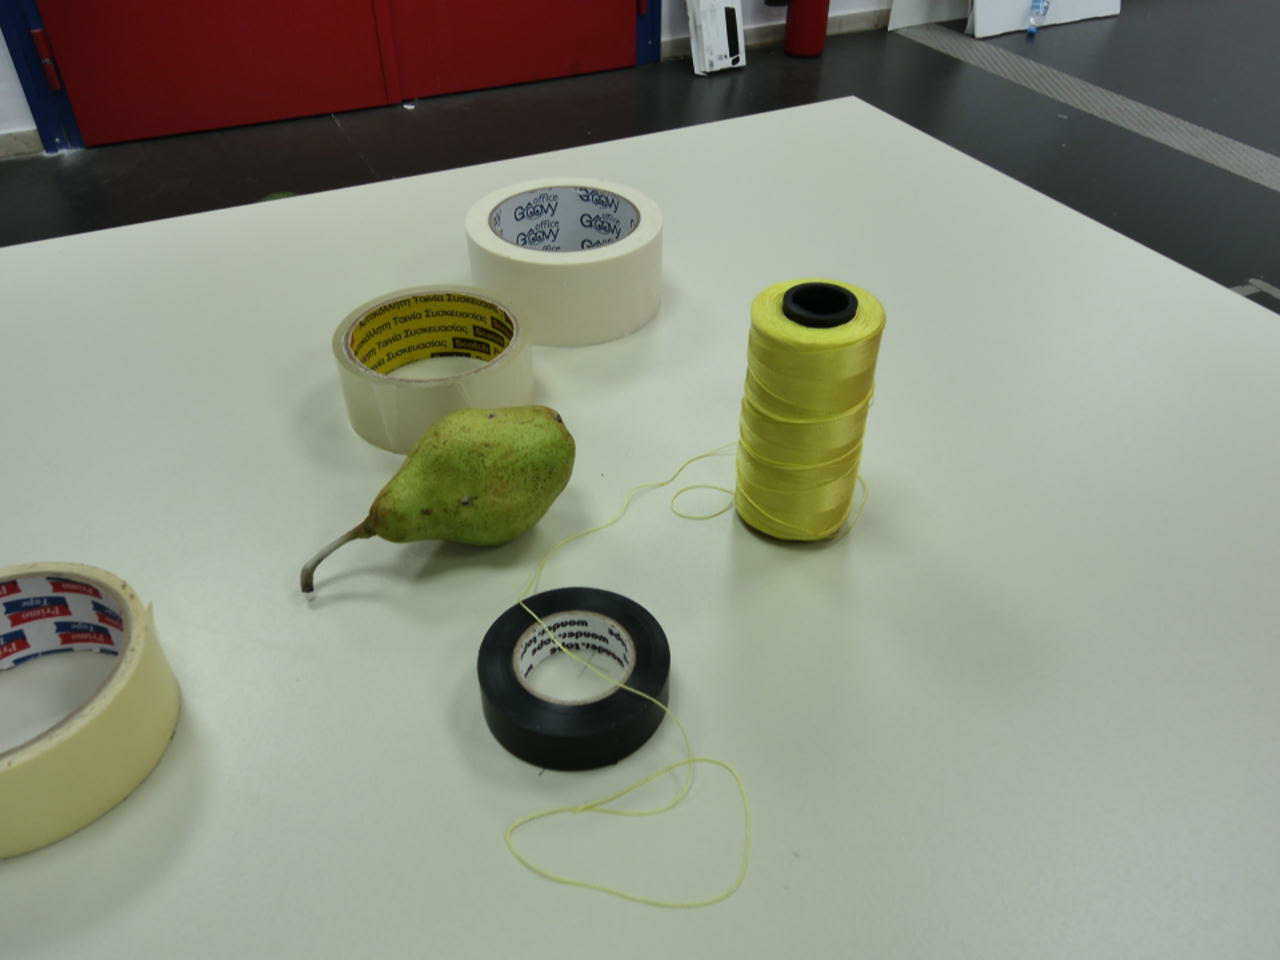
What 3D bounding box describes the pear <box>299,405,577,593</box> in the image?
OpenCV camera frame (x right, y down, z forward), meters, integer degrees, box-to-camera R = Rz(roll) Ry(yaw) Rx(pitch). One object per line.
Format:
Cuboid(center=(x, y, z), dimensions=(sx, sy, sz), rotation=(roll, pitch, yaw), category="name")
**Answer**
Cuboid(center=(-0.081, 0.001, 0.395), dimensions=(0.111, 0.056, 0.056), rotation=(-7, 38, -9), category="pear")
